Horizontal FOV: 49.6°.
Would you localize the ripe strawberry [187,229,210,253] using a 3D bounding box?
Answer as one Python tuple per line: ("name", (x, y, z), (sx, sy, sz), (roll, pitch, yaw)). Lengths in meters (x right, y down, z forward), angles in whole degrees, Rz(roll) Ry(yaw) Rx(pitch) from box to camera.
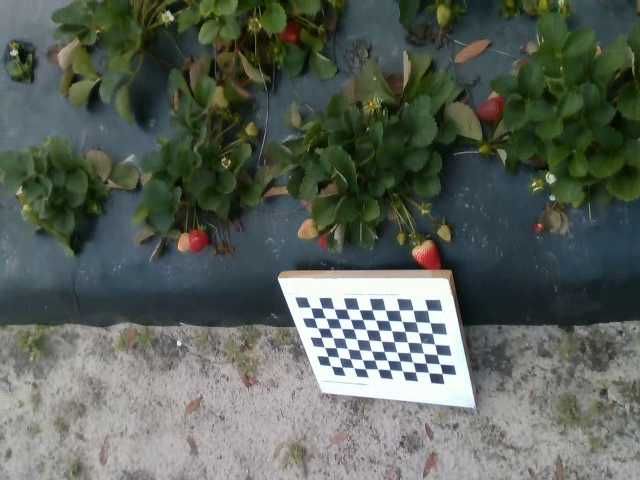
("ripe strawberry", (-0.205, 0.001, 1.118), (0.034, 0.042, 0.033), (25, -18, 9))
